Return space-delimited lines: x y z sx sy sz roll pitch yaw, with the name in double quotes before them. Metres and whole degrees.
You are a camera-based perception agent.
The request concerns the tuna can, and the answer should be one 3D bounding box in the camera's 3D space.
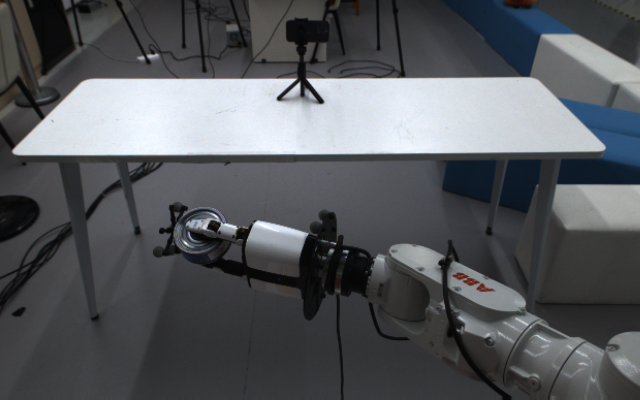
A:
"tuna can" -0.178 0.057 0.743 0.085 0.034 0.085 -2 59 3
